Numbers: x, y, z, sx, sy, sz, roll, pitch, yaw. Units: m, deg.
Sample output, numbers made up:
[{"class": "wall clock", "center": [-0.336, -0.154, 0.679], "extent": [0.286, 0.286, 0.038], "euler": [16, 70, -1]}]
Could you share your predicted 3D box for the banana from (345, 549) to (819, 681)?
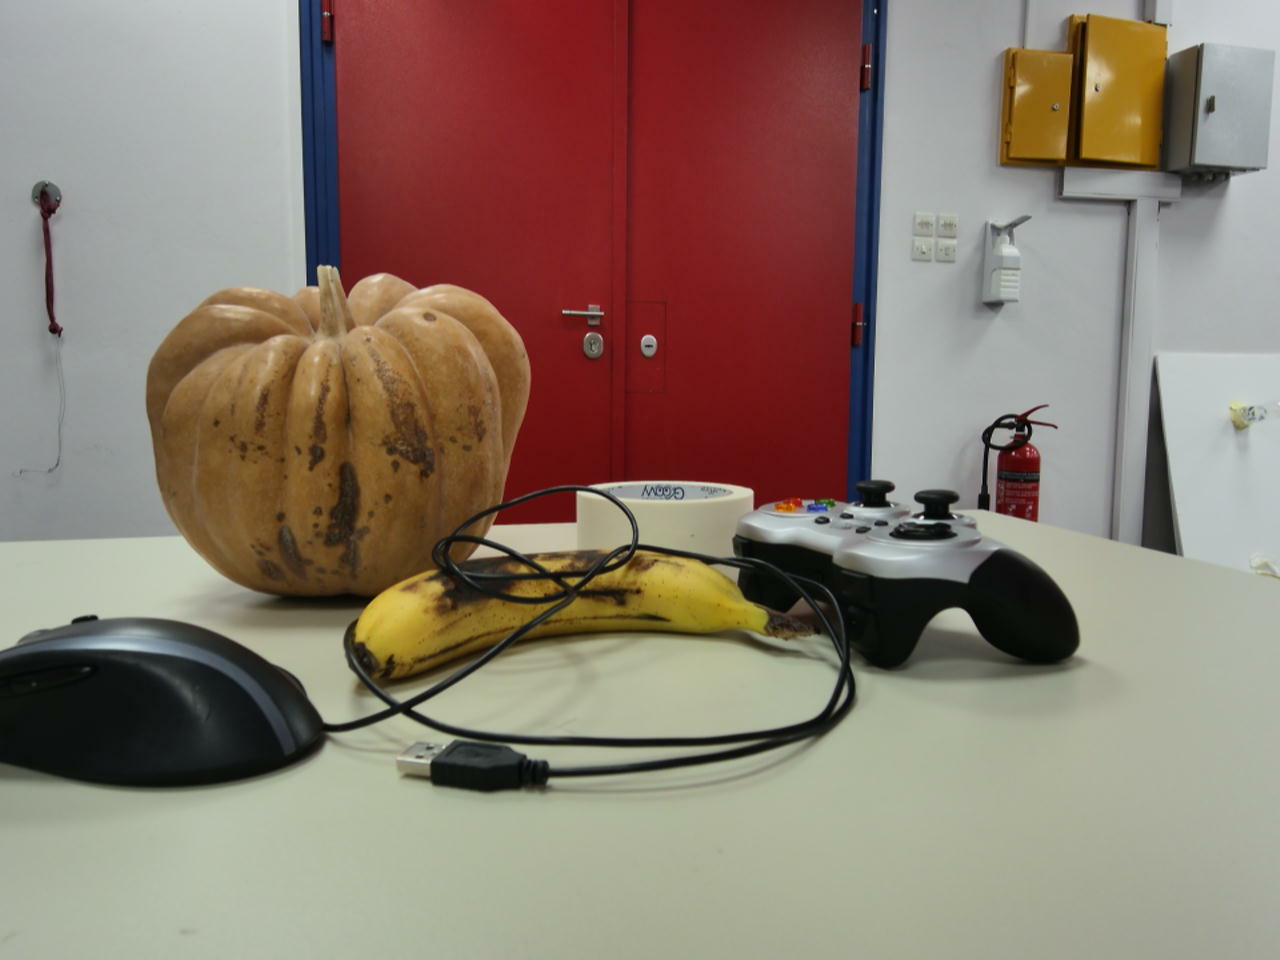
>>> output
[{"class": "banana", "center": [-0.030, 0.055, 0.433], "extent": [0.187, 0.039, 0.094], "euler": [-1, 4, -15]}]
